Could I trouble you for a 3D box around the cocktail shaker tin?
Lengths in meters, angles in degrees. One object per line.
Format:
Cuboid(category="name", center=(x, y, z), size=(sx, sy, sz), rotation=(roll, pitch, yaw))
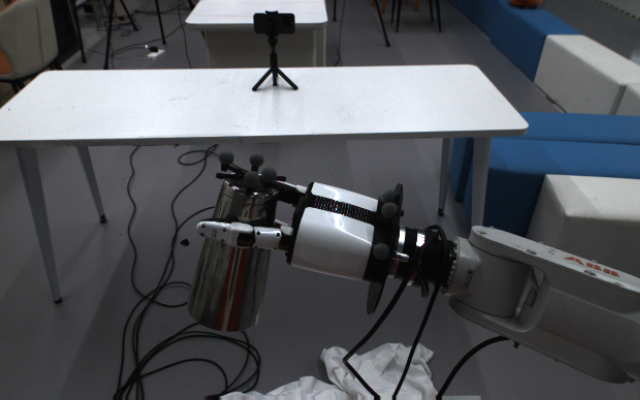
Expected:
Cuboid(category="cocktail shaker tin", center=(-0.097, 0.057, 0.583), size=(0.093, 0.170, 0.093), rotation=(14, 19, -5))
